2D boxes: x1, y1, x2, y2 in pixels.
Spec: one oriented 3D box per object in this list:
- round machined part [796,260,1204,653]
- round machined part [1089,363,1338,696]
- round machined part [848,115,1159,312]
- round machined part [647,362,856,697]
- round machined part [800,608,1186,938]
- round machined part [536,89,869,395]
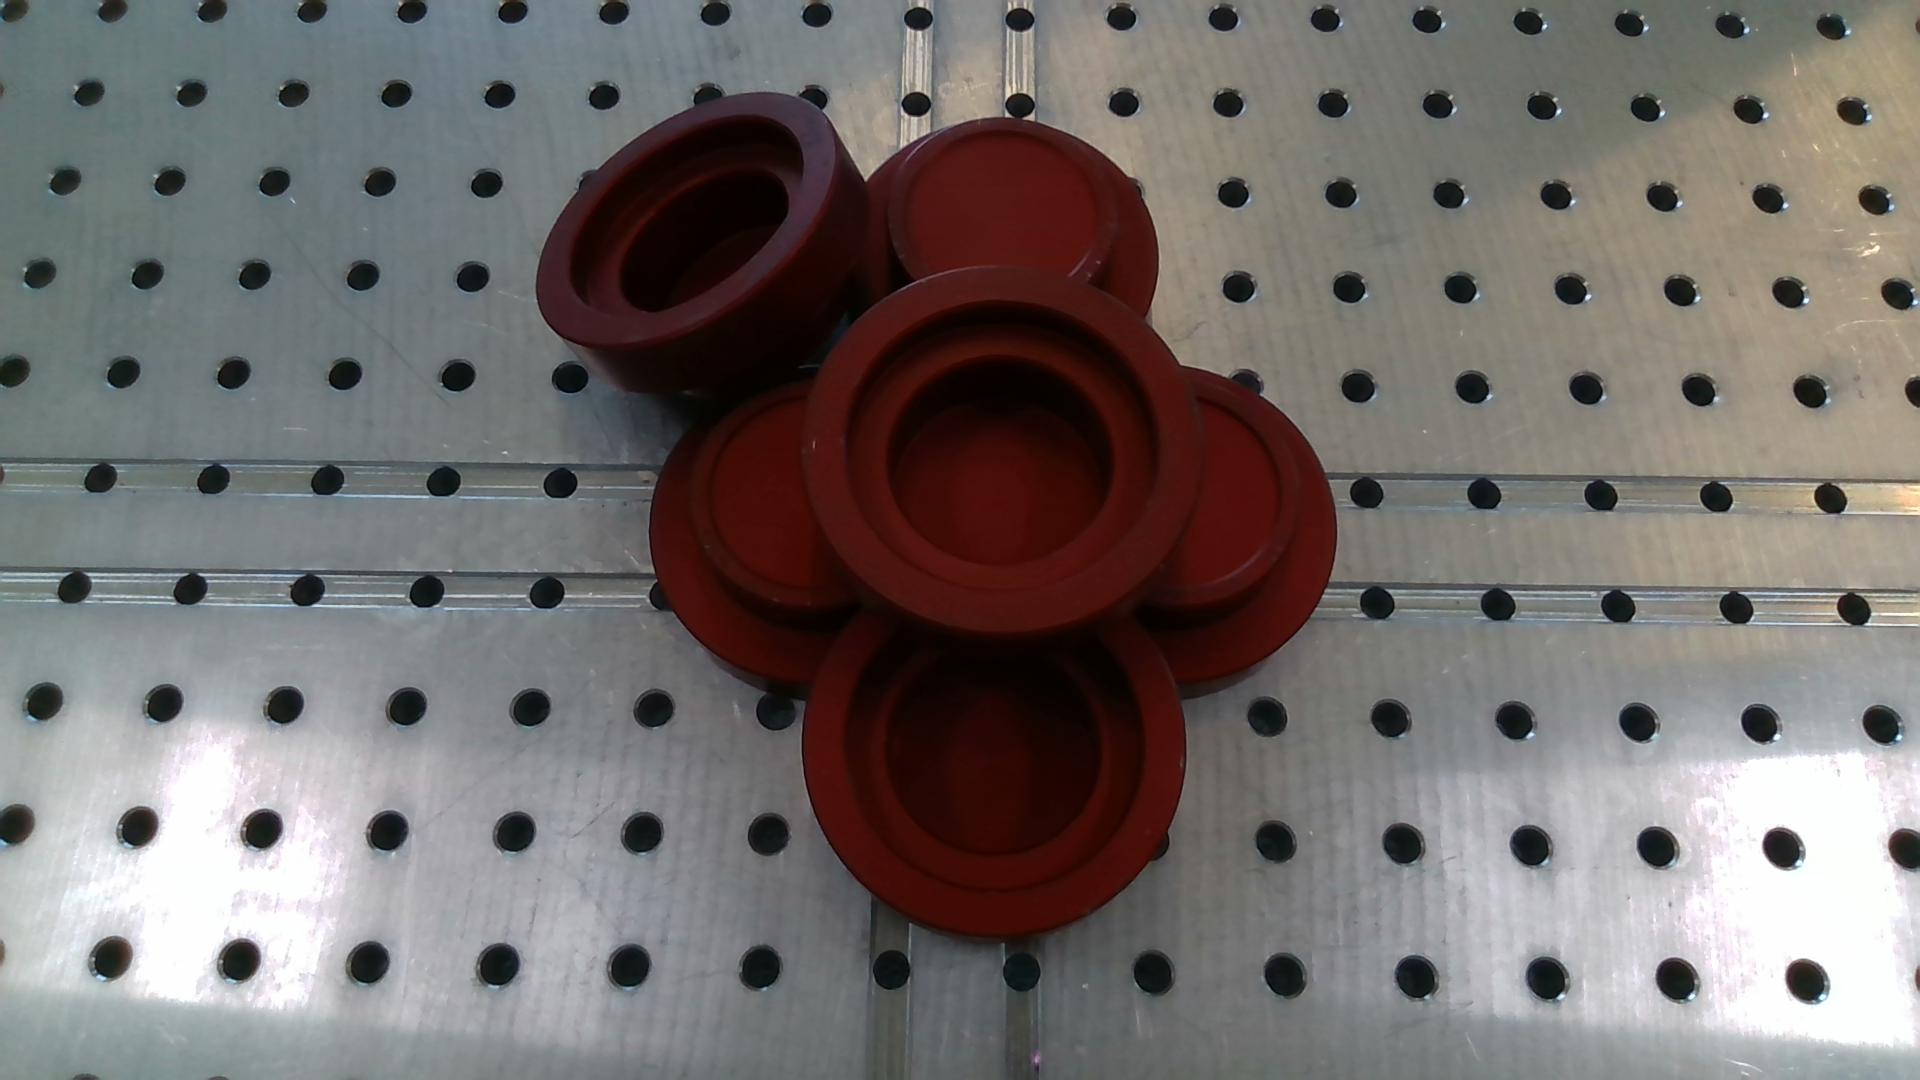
[{"bbox_3d":[0.010,-0.018,0.350,0.098,0.042,0.098,0,70,0],"label":"round machined part"},{"bbox_3d":[0.059,-0.008,0.392,0.098,0.042,0.098,0,70,0],"label":"round machined part"},{"bbox_3d":[0.012,-0.089,0.420,0.098,0.042,0.098,0,70,0],"label":"round machined part"},{"bbox_3d":[-0.040,-0.007,0.391,0.098,0.042,0.098,0,70,0],"label":"round machined part"},{"bbox_3d":[0.009,0.057,0.368,0.098,0.042,0.098,0,70,0],"label":"round machined part"},{"bbox_3d":[-0.071,-0.082,0.404,0.098,0.042,0.098,-13,53,18],"label":"round machined part"}]
